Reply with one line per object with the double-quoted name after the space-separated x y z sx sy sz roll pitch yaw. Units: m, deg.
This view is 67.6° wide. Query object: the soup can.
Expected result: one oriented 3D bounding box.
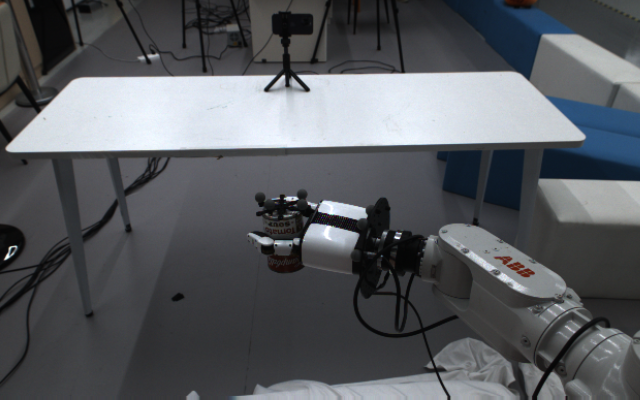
-0.058 0.060 0.799 0.067 0.101 0.067 -3 25 2 "soup can"
